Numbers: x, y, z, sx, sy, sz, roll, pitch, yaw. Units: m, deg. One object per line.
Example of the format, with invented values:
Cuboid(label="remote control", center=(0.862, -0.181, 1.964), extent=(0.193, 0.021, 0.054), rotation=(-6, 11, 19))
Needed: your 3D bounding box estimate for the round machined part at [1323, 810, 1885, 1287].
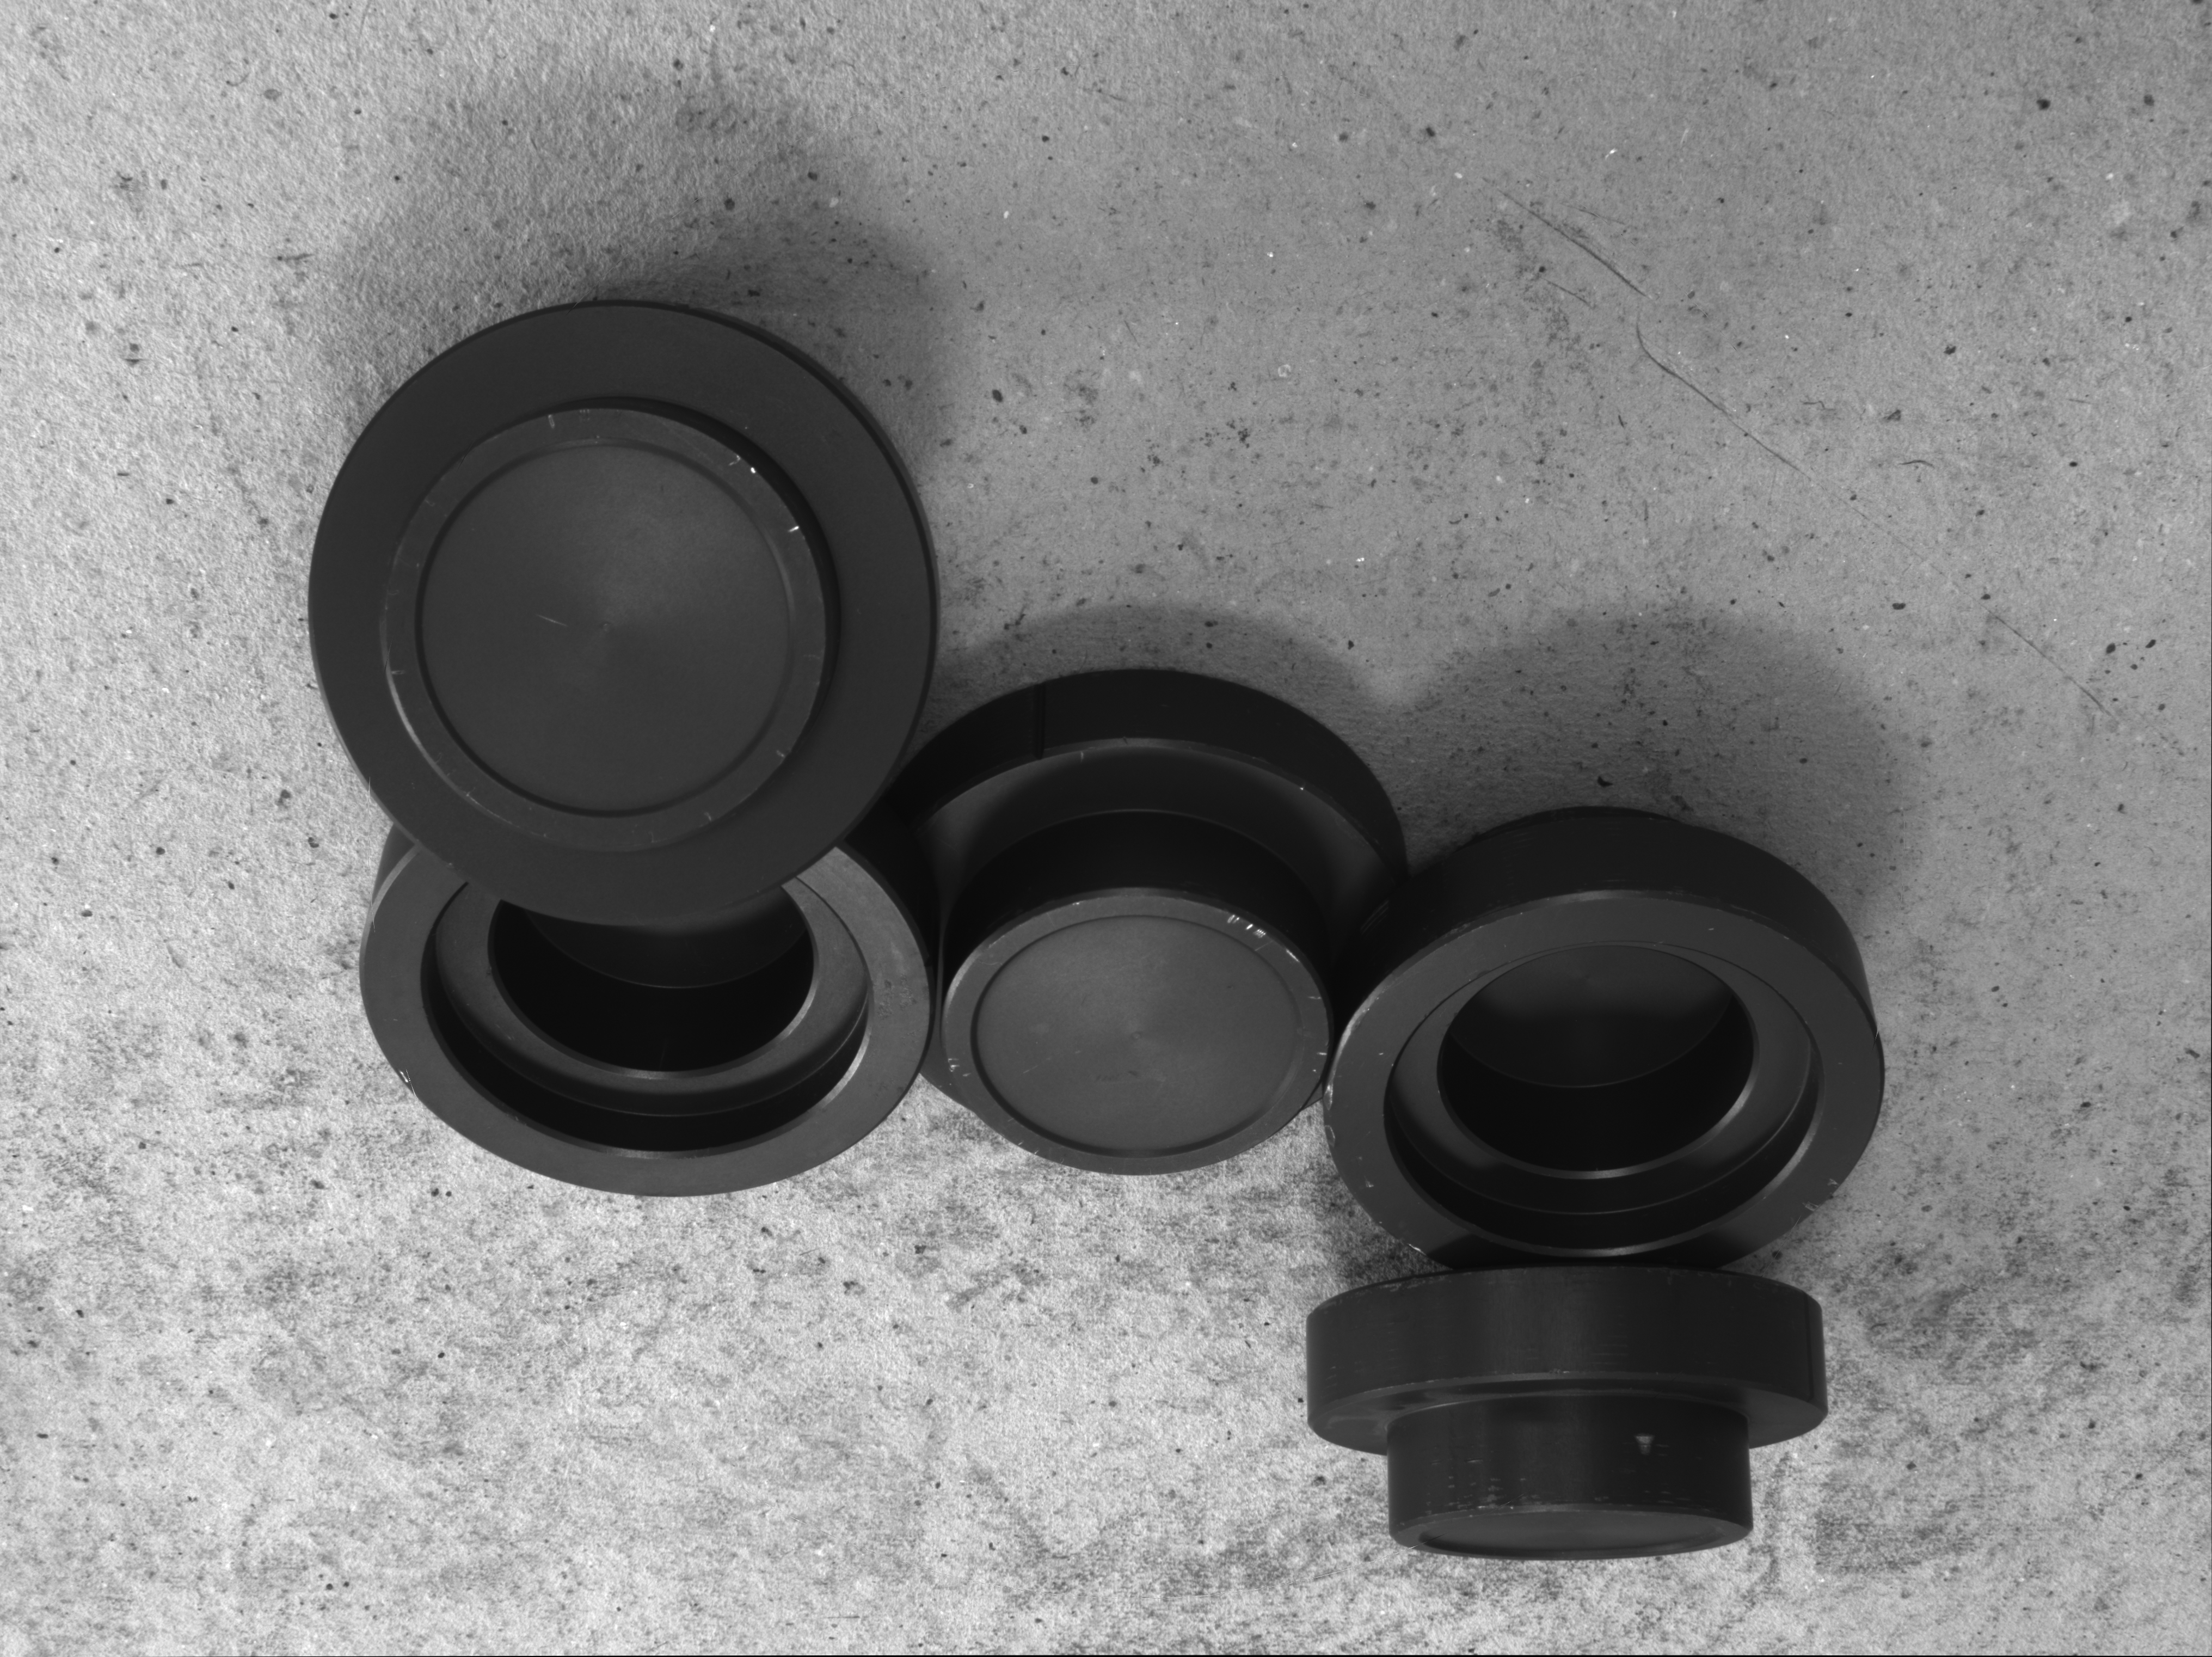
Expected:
Cuboid(label="round machined part", center=(0.087, 0.036, 0.657), extent=(0.098, 0.042, 0.098), rotation=(0, 130, 1))

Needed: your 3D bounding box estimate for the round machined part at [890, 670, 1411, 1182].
Cuboid(label="round machined part", center=(0.006, 0.024, 0.646), extent=(0.098, 0.042, 0.098), rotation=(1, 128, 1))

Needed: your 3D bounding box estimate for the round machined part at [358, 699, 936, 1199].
Cuboid(label="round machined part", center=(-0.078, 0.016, 0.641), extent=(0.098, 0.042, 0.098), rotation=(0, 130, 1))

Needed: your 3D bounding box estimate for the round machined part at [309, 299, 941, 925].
Cuboid(label="round machined part", center=(-0.075, -0.033, 0.571), extent=(0.098, 0.042, 0.098), rotation=(0, 99, -1))

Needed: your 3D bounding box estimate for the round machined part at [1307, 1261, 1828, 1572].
Cuboid(label="round machined part", center=(0.087, 0.114, 0.694), extent=(0.098, 0.042, 0.098), rotation=(0, 159, 0))
